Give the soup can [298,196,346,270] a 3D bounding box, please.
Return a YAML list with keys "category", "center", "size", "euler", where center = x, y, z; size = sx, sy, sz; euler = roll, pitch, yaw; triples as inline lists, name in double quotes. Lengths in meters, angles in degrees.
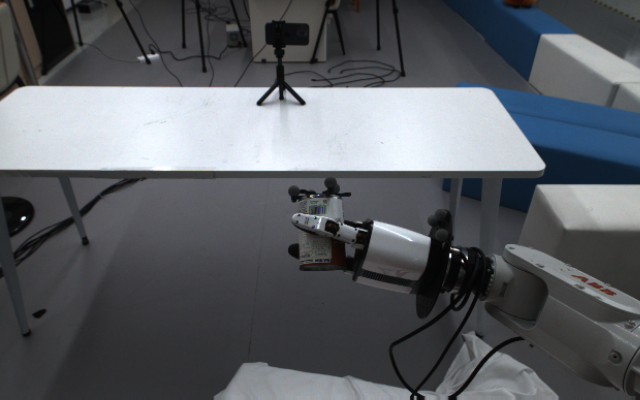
- category: "soup can"
  center: [0.005, 0.049, 0.692]
  size: [0.067, 0.067, 0.101]
  euler: [-2, 76, -6]
